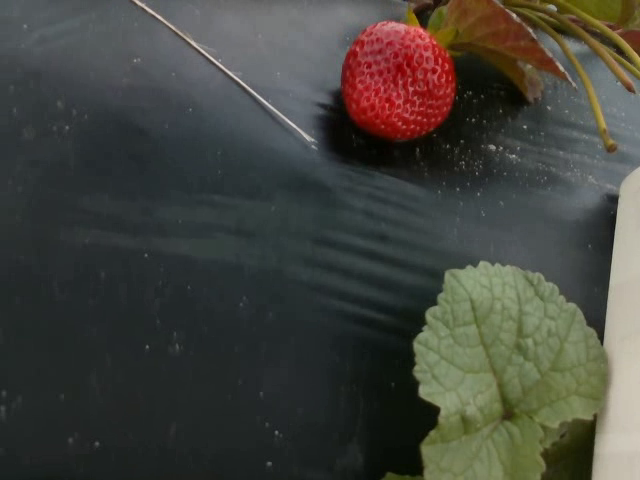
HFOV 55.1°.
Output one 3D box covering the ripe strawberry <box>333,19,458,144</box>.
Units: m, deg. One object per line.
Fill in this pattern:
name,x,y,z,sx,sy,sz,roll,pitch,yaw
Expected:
ripe strawberry,0.015,-0.034,0.127,0.028,0.033,0.023,35,-31,4
